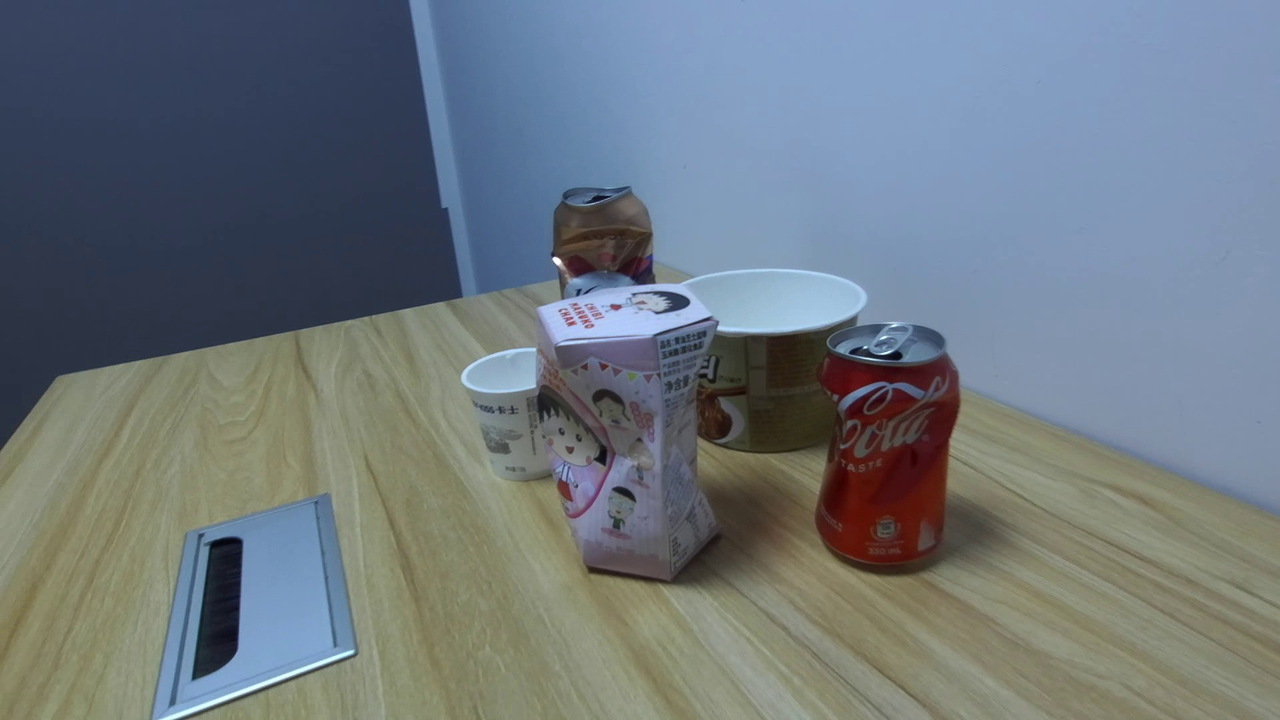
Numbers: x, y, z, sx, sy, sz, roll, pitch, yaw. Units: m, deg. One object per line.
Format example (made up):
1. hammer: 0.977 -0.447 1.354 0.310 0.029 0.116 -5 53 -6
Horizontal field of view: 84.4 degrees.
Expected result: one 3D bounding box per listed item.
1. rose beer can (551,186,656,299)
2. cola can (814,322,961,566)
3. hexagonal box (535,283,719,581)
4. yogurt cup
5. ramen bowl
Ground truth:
1. rose beer can: -0.025 -0.051 0.549 0.074 0.162 0.068 -10 19 -13
2. cola can: 0.122 0.041 0.356 0.066 0.117 0.066 -4 22 1
3. hexagonal box: -0.003 0.035 0.373 0.088 0.135 0.093 12 28 35
4. yogurt cup: -0.075 0.037 0.464 0.072 0.068 0.072 -5 23 2
5. ramen bowl: 0.087 -0.001 0.496 0.140 0.095 0.140 -2 22 1
